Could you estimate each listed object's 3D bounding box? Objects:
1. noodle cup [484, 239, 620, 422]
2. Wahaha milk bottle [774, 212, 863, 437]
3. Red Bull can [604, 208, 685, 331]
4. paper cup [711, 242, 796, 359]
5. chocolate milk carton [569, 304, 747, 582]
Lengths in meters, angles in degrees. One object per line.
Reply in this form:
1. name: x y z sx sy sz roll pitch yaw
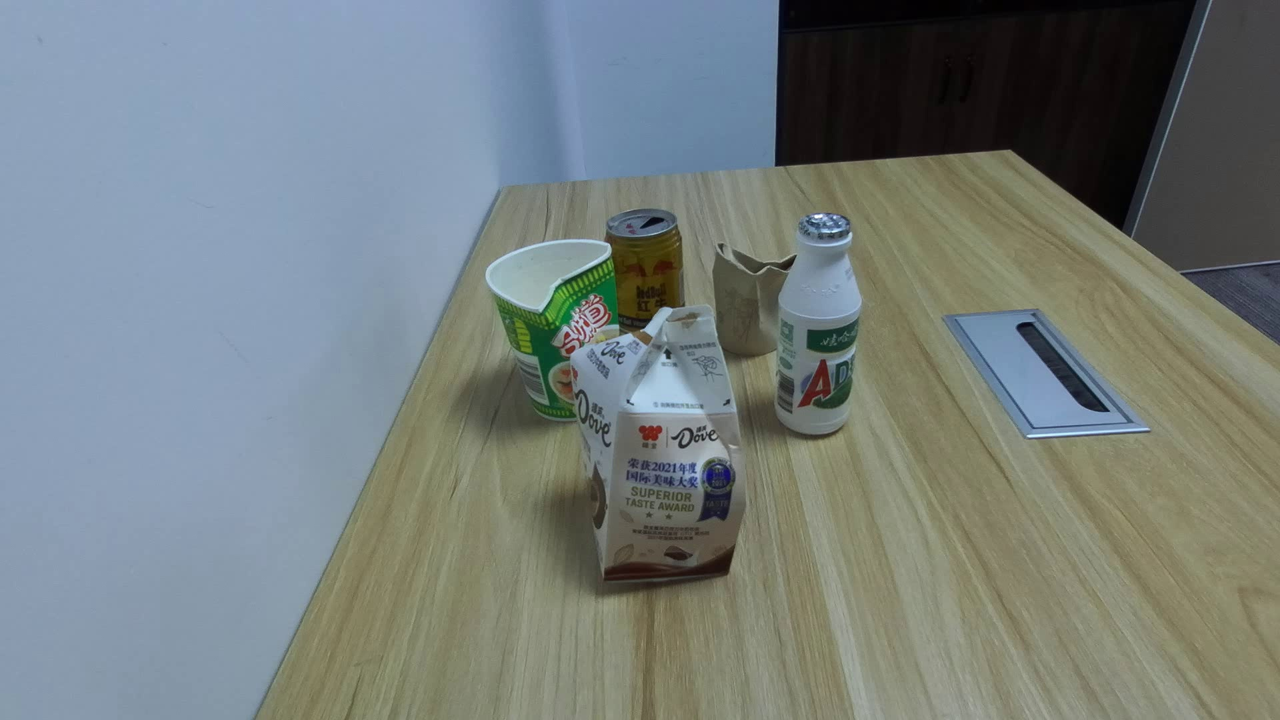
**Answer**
1. noodle cup: -0.055 -0.021 0.520 0.094 0.110 0.086 -28 40 -28
2. Wahaha milk bottle: 0.116 -0.020 0.461 0.053 0.147 0.053 -4 34 3
3. Red Bull can: 0.005 -0.075 0.610 0.068 0.093 0.068 -3 31 2
4. paper cup: 0.092 -0.051 0.565 0.058 0.083 0.066 -20 37 -23
5. chocolate milk carton: 0.009 0.042 0.390 0.077 0.155 0.089 -8 20 -9
